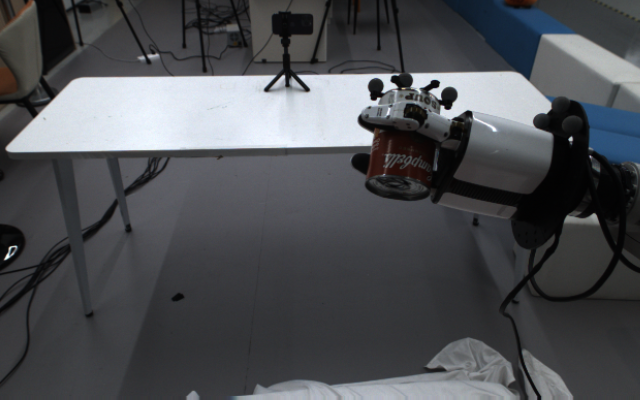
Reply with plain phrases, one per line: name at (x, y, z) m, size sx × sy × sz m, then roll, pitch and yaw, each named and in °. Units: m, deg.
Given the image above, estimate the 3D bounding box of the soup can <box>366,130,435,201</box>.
soup can at (0.090, -0.058, 0.509) m, size 0.067 × 0.067 × 0.101 m, roll 8°, pitch 72°, yaw 9°
